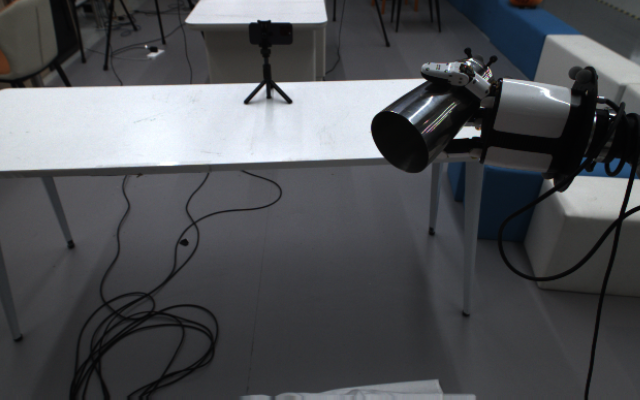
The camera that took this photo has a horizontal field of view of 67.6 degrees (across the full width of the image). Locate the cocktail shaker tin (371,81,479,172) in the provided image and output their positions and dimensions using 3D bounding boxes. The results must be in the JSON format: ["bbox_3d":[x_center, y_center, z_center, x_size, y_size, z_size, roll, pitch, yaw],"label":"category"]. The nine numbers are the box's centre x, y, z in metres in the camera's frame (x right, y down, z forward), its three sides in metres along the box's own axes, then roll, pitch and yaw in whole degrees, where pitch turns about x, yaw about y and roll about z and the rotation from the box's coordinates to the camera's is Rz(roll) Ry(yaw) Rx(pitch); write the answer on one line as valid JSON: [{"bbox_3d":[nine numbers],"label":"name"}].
[{"bbox_3d":[0.159,-0.126,0.646,0.170,0.093,0.093,-38,50,-24],"label":"cocktail shaker tin"}]
